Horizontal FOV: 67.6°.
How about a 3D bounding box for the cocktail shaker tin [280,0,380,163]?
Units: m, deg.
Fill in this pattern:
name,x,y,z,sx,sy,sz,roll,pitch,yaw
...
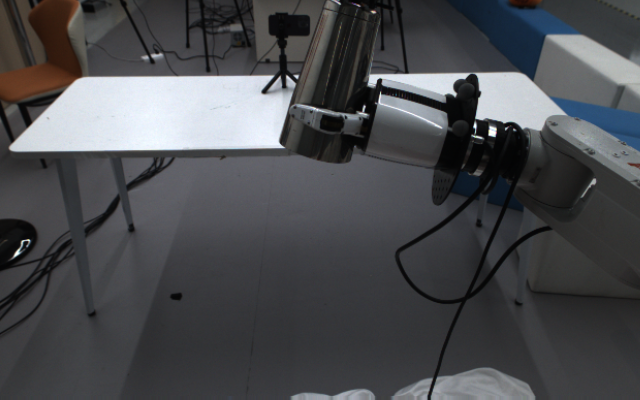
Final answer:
name,x,y,z,sx,sy,sz,roll,pitch,yaw
cocktail shaker tin,0.016,-0.140,0.568,0.093,0.170,0.093,14,20,-5
